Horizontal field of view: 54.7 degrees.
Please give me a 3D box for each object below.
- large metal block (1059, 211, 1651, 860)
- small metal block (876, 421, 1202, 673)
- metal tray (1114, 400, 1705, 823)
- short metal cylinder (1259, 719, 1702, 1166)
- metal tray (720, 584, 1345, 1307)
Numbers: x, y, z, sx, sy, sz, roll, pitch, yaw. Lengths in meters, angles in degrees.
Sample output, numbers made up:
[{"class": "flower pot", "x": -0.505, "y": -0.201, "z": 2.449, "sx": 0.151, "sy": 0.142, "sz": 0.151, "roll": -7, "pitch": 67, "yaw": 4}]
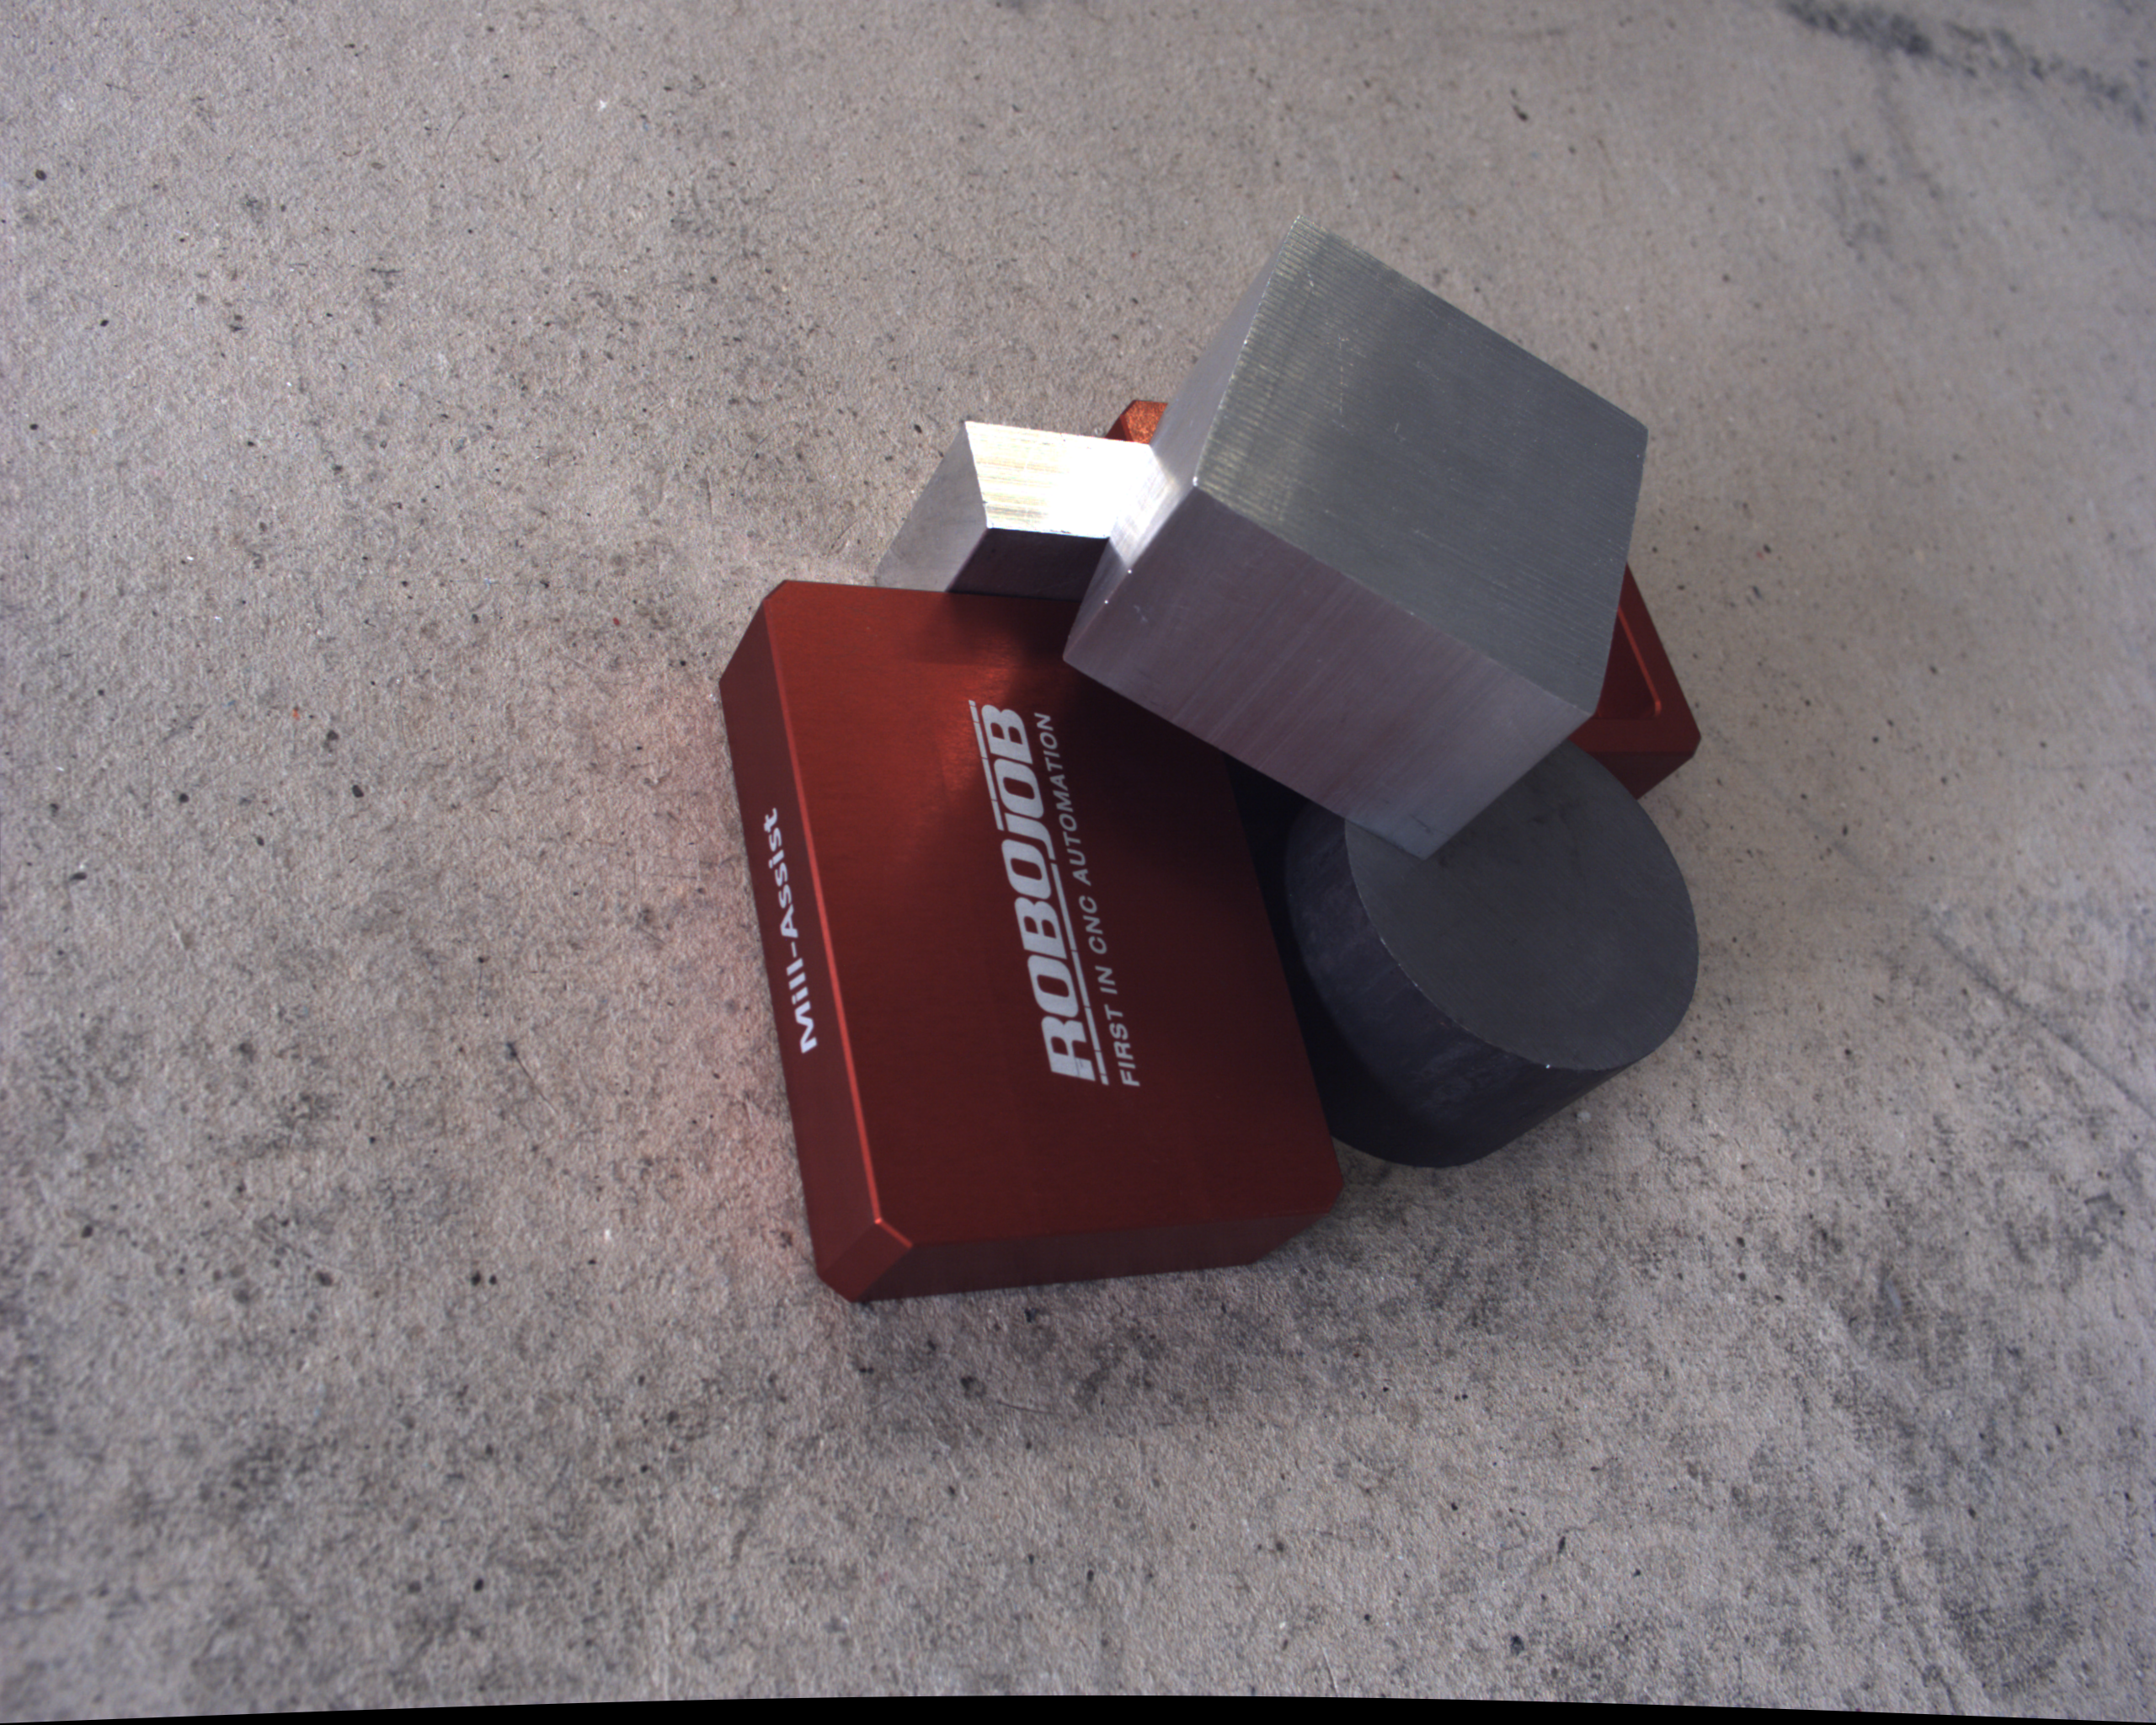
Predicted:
[{"class": "large metal block", "x": 0.053, "y": -0.061, "z": 0.389, "sx": 0.080, "sy": 0.050, "sz": 0.080, "roll": 29, "pitch": 52, "yaw": -10}, {"class": "small metal block", "x": -0.007, "y": -0.061, "z": 0.423, "sx": 0.050, "sy": 0.050, "sz": 0.025, "roll": 1, "pitch": 62, "yaw": -28}, {"class": "metal tray", "x": 0.071, "y": -0.056, "z": 0.474, "sx": 0.131, "sy": 0.030, "sz": 0.090, "roll": -2, "pitch": 63, "yaw": -29}, {"class": "short metal cylinder", "x": 0.077, "y": 0.015, "z": 0.421, "sx": 0.081, "sy": 0.050, "sz": 0.080, "roll": 13, "pitch": 57, "yaw": -20}, {"class": "metal tray", "x": -0.011, "y": 0.012, "z": 0.390, "sx": 0.091, "sy": 0.030, "sz": 0.130, "roll": 1, "pitch": 62, "yaw": -28}]
